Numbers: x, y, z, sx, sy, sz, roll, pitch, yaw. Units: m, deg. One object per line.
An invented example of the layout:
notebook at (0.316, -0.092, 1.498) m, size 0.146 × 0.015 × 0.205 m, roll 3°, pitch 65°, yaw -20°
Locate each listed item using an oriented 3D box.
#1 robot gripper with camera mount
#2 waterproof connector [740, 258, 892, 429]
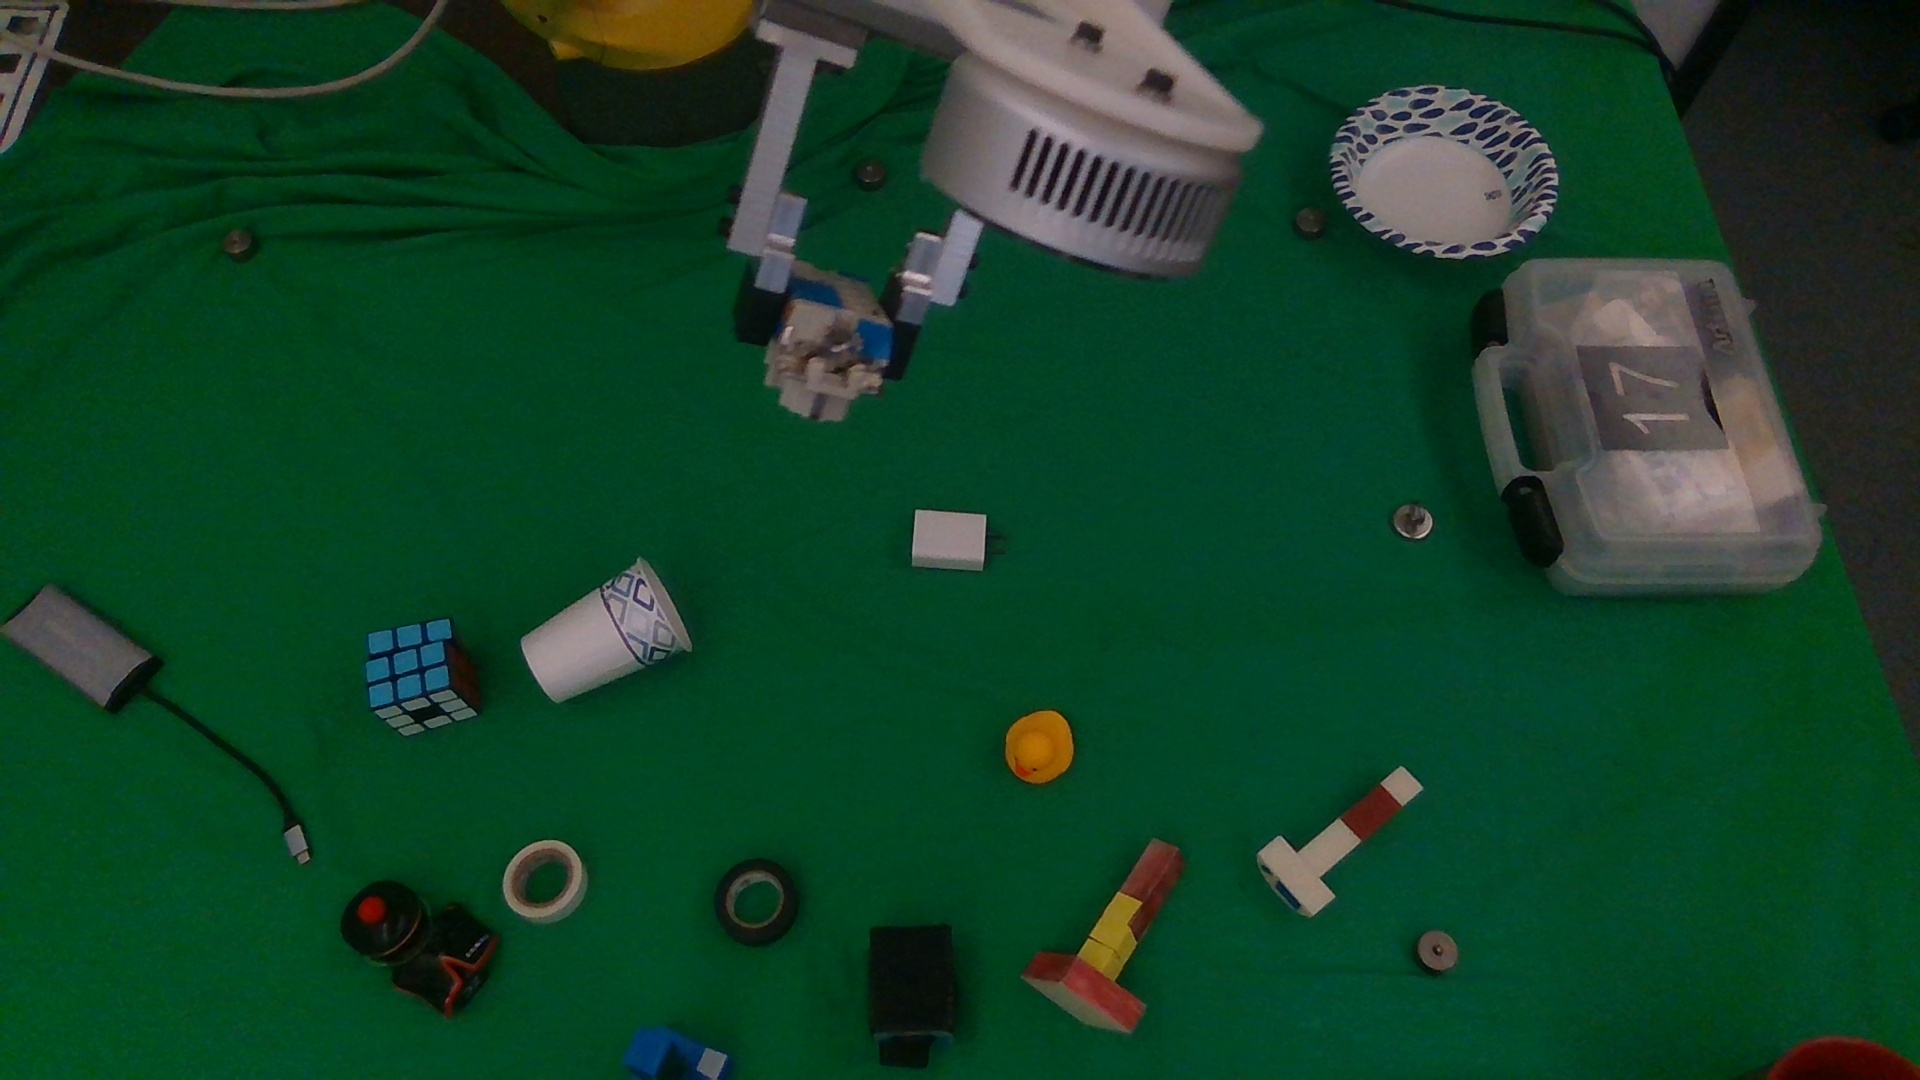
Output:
robot gripper with camera mount at (0.004, -0.083, 0.332) m, size 0.118 × 0.159 × 0.194 m, roll 10°, pitch 26°, yaw -23°
waterproof connector at (-0.047, -0.060, 0.430) m, size 0.035 × 0.037 × 0.065 m, roll 11°, pitch 26°, yaw -26°
